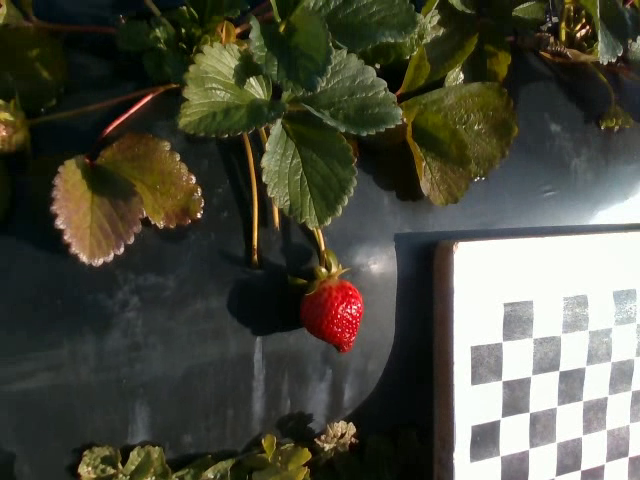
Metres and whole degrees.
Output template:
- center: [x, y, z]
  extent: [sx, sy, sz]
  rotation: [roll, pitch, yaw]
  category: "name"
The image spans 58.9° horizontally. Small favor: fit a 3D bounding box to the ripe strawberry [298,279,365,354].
- center: [0.007, 0.041, 0.293]
  extent: [0.040, 0.044, 0.036]
  rotation: [-23, 0, -20]
  category: "ripe strawberry"
